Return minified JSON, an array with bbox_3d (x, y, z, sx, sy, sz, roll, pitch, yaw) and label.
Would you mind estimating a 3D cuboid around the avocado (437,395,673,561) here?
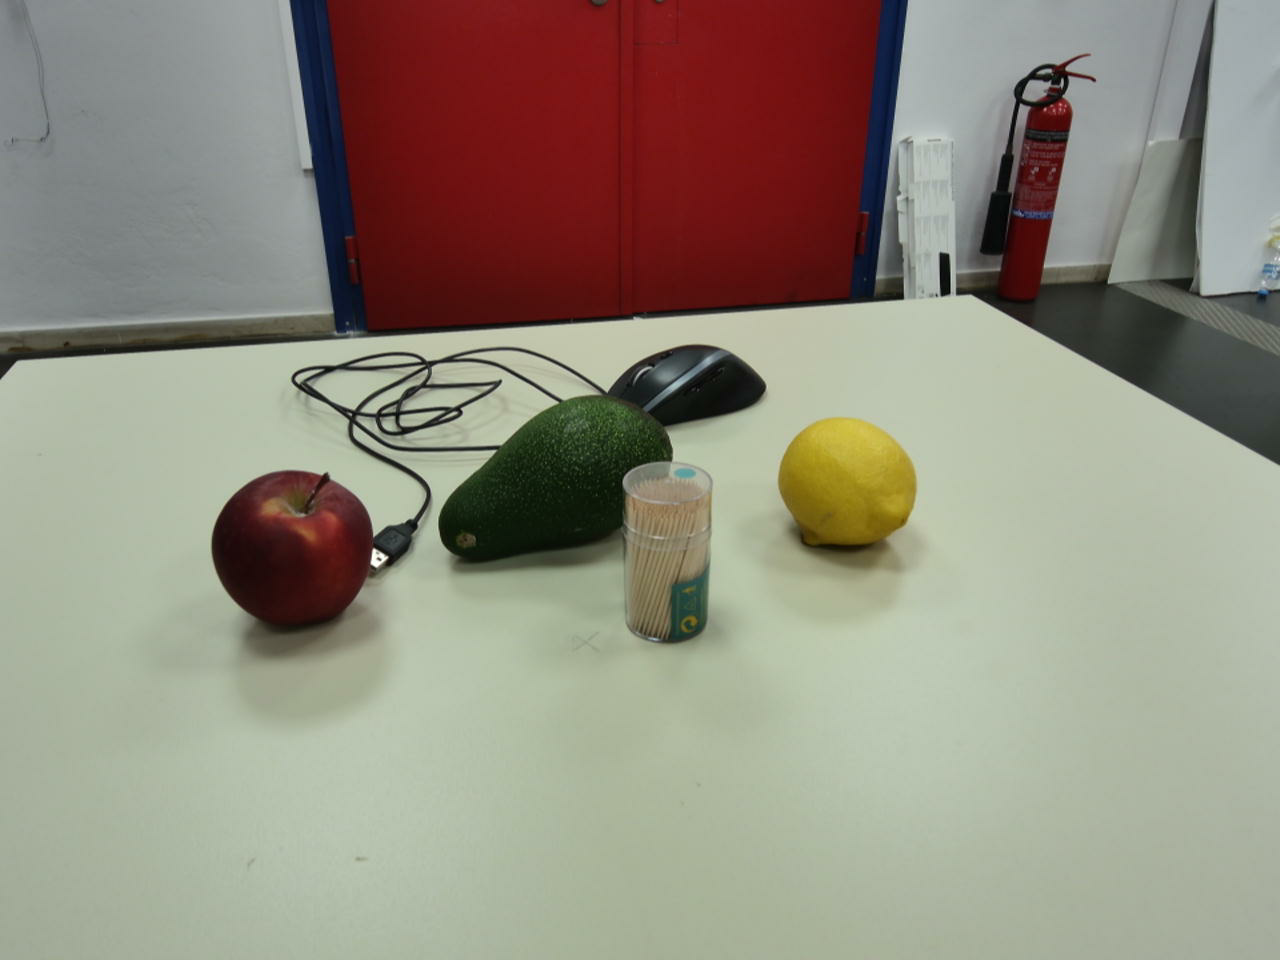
[{"bbox_3d":[-0.044,-0.005,0.519,0.123,0.076,0.074,-3,26,-6],"label":"avocado"}]
